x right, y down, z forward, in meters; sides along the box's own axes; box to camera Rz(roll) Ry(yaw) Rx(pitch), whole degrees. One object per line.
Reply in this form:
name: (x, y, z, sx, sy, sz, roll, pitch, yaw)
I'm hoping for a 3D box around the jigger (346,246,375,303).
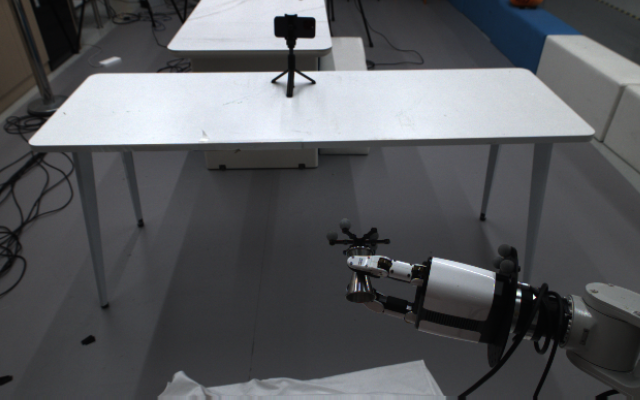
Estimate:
jigger: (0.057, 0.101, 0.677, 0.043, 0.043, 0.071, 2, 59, 0)
